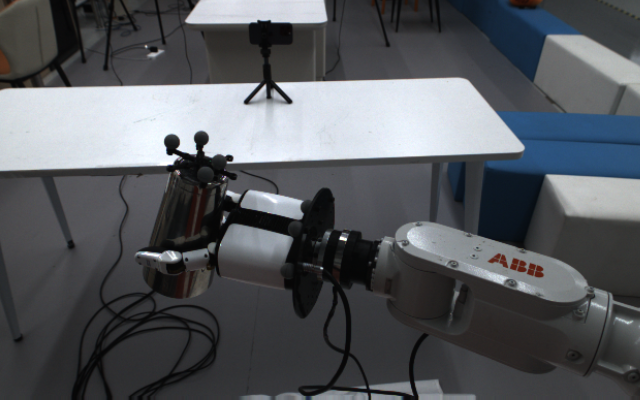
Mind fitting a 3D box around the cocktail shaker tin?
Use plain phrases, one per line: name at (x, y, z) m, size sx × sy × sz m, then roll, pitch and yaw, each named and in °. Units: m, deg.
cocktail shaker tin at (-0.164, 0.030, 0.607) m, size 0.093 × 0.170 × 0.093 m, roll 16°, pitch 31°, yaw -10°
